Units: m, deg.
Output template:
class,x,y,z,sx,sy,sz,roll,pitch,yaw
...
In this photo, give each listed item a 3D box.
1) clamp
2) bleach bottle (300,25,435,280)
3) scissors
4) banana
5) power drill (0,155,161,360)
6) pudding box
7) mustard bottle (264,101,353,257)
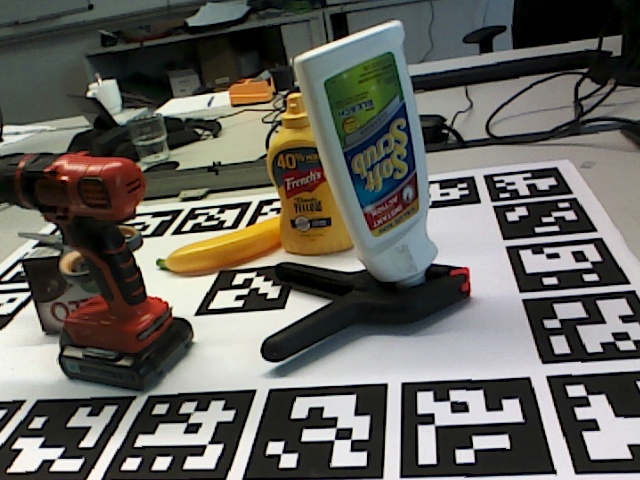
class,x,y,z,sx,sy,sz,roll,pitch,yaw
clamp,0.043,0.042,0.616,0.203,0.036,0.166,-7,27,4
bleach bottle,0.063,-0.061,0.580,0.102,0.250,0.068,-19,21,-3
scissors,-0.283,-0.009,0.670,0.204,0.016,0.087,12,37,31
banana,-0.112,-0.010,0.806,0.196,0.039,0.074,-23,11,-25
power drill,-0.231,0.014,0.571,0.185,0.186,0.057,-2,19,24
pudding box,-0.265,0.050,0.689,0.114,0.090,0.038,-3,19,14
mustard bottle,-0.018,-0.072,0.745,0.097,0.191,0.058,2,27,23
